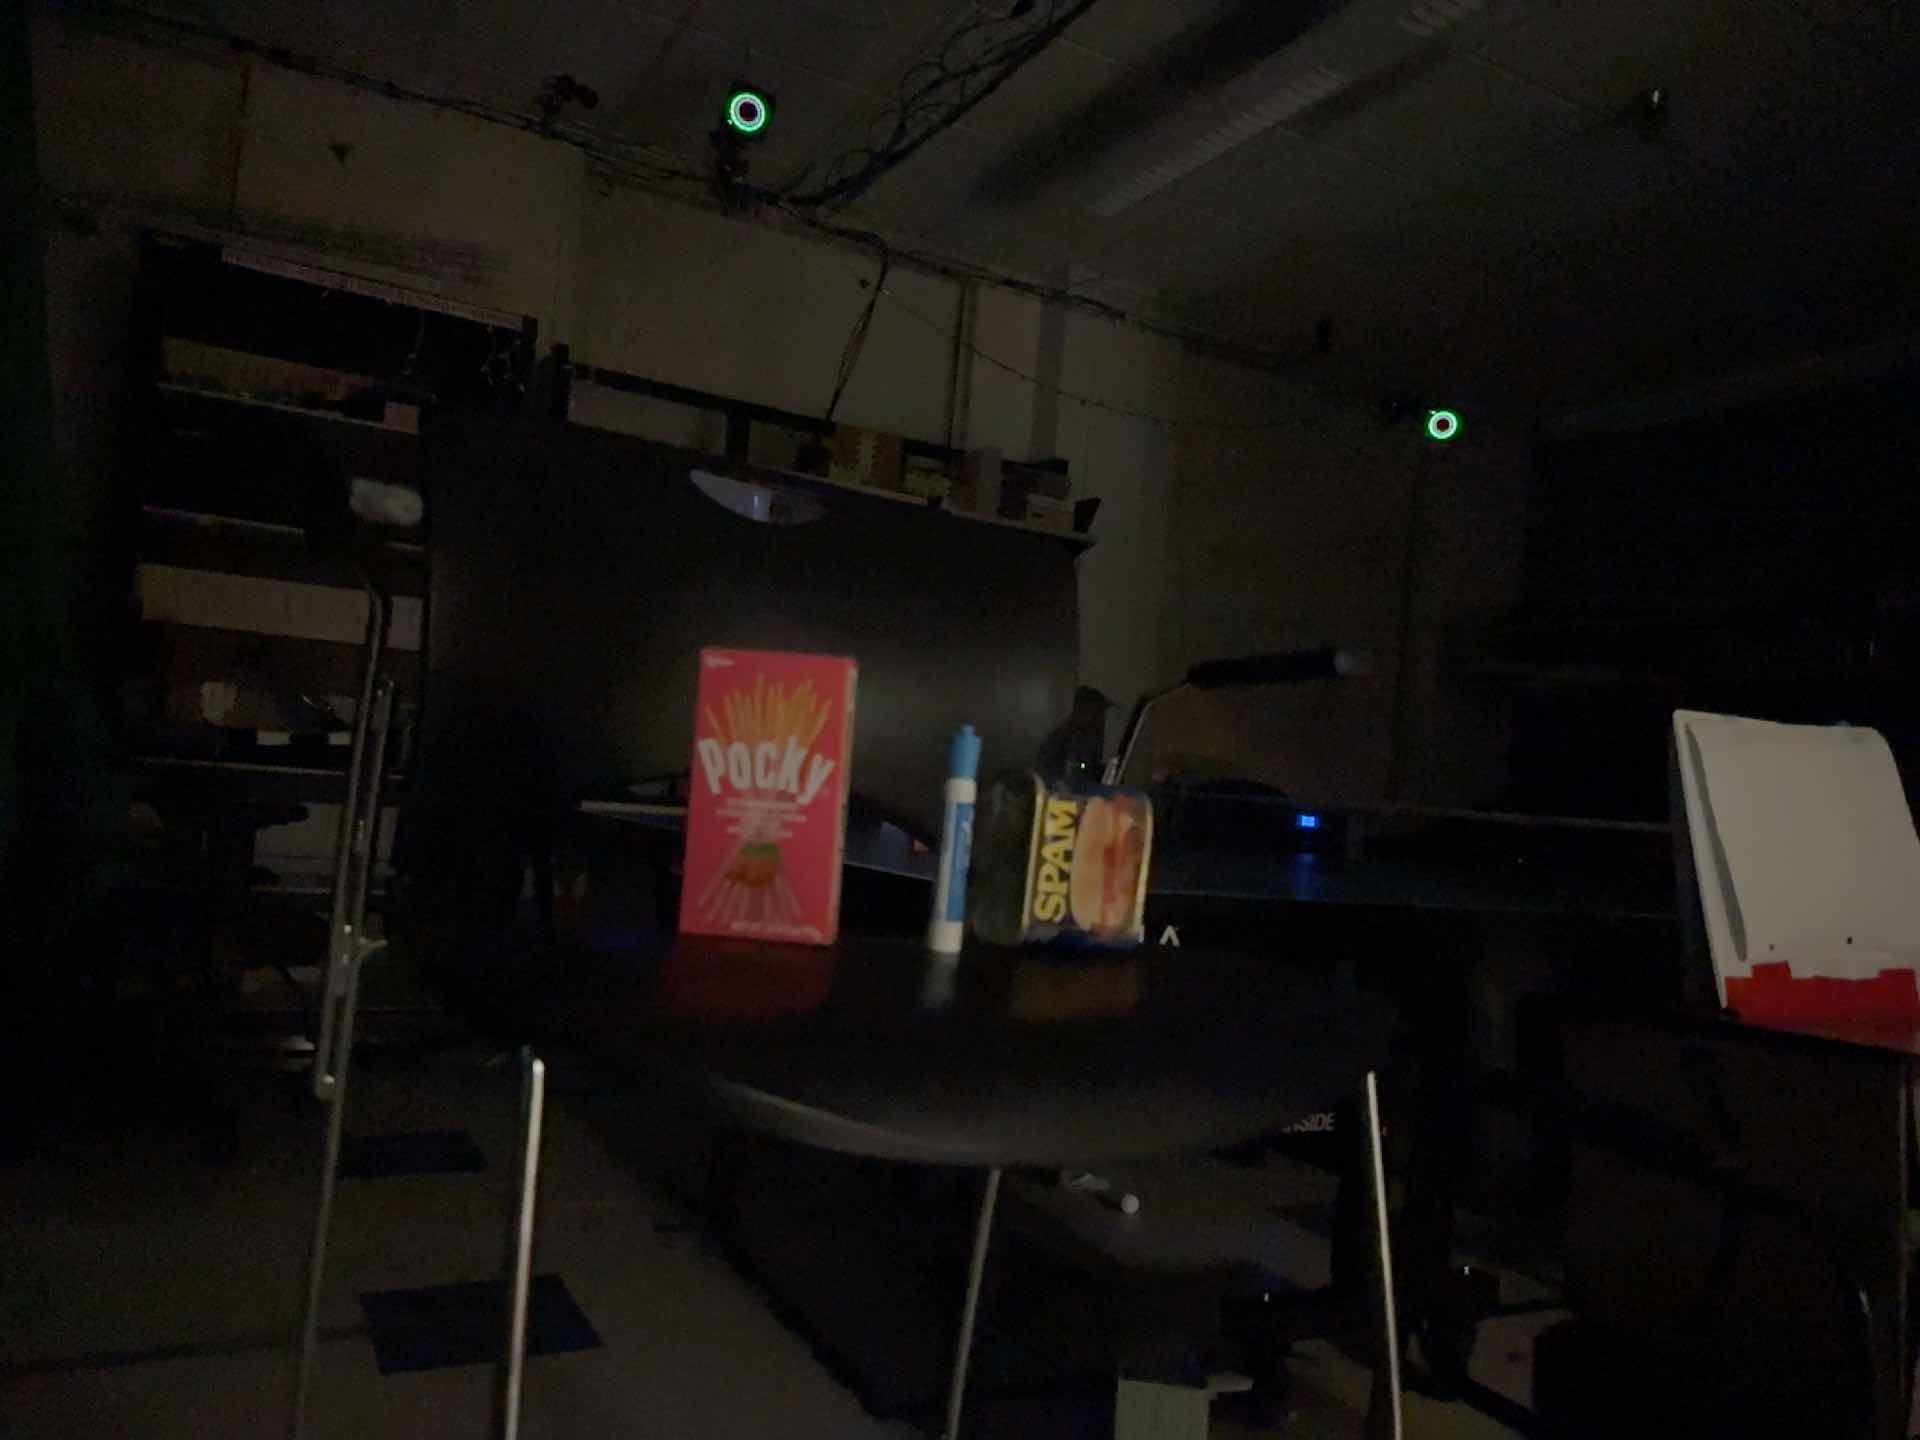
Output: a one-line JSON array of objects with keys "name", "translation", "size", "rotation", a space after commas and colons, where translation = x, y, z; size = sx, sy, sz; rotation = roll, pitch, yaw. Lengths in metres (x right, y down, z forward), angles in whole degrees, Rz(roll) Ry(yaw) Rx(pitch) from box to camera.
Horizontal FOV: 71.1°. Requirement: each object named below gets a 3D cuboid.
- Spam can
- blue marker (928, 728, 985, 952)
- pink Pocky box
[{"name": "Spam can", "translation": [0.064, 0.079, 0.791], "size": [0.083, 0.100, 0.056], "rotation": [8, -2, -35]}, {"name": "blue marker", "translation": [-0.002, 0.065, 0.737], "size": [0.020, 0.121, 0.020], "rotation": [6, 1, 0]}, {"name": "pink Pocky box", "translation": [-0.104, 0.038, 0.722], "size": [0.084, 0.155, 0.029], "rotation": [4, 1, 7]}]
